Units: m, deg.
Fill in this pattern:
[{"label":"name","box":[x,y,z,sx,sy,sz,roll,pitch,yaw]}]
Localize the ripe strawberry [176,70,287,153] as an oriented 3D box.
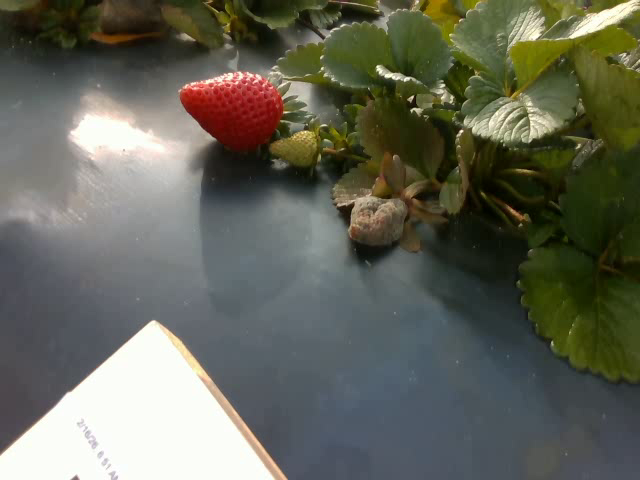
[{"label":"ripe strawberry","box":[-0.044,-0.064,0.272,0.057,0.051,0.046,-6,44,-49]}]
